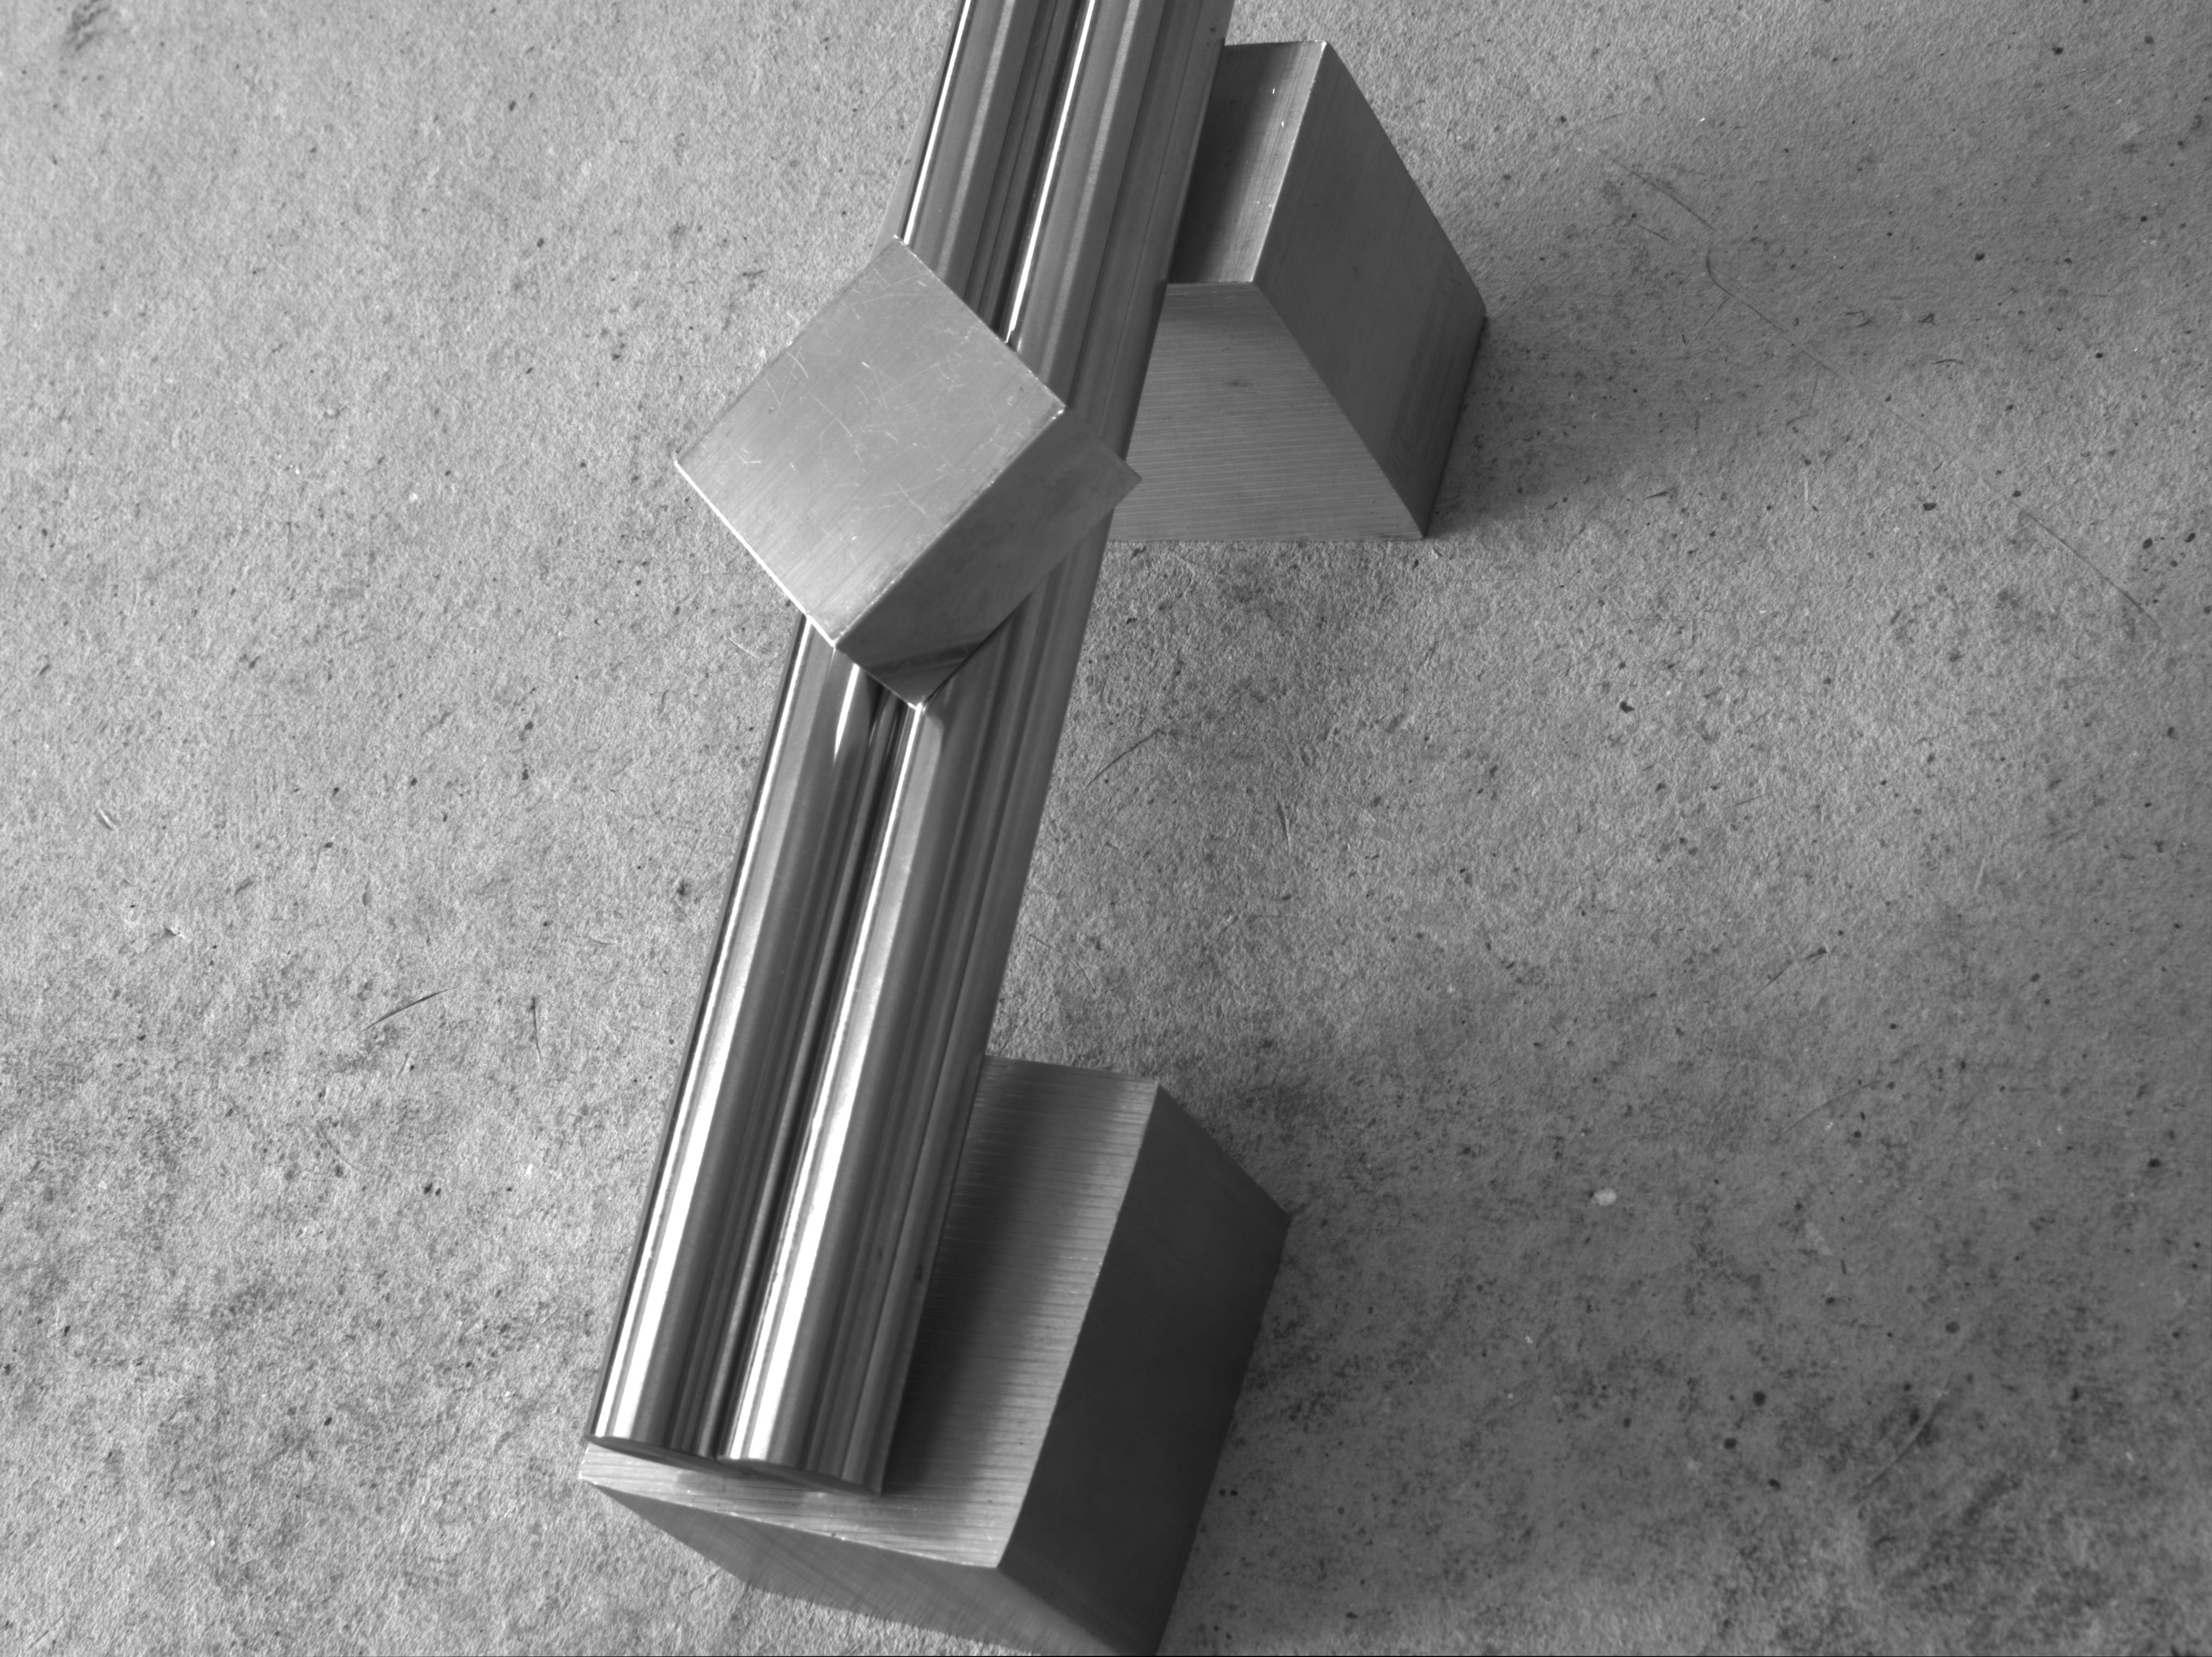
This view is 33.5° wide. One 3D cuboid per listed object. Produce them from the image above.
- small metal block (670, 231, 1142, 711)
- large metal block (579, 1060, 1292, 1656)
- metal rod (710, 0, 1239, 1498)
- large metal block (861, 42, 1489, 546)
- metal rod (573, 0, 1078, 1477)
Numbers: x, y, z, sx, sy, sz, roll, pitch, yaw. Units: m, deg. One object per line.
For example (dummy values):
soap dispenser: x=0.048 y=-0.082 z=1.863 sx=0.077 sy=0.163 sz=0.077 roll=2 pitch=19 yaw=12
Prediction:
small metal block: x=-0.031 y=-0.056 z=0.571 sx=0.050 sy=0.025 sz=0.050 roll=-45 pitch=56 yaw=4
large metal block: x=-0.026 y=0.083 z=0.592 sx=0.080 sy=0.050 sz=0.080 roll=5 pitch=64 yaw=31
metal rod: x=-0.013 y=-0.044 z=0.585 sx=0.025 sy=0.025 sz=0.300 roll=3 pitch=70 yaw=30
large metal block: x=0.013 y=-0.094 z=0.662 sx=0.080 sy=0.080 sz=0.050 roll=3 pitch=63 yaw=30
metal rod: x=-0.035 y=-0.045 z=0.598 sx=0.025 sy=0.025 sz=0.300 roll=3 pitch=70 yaw=30
